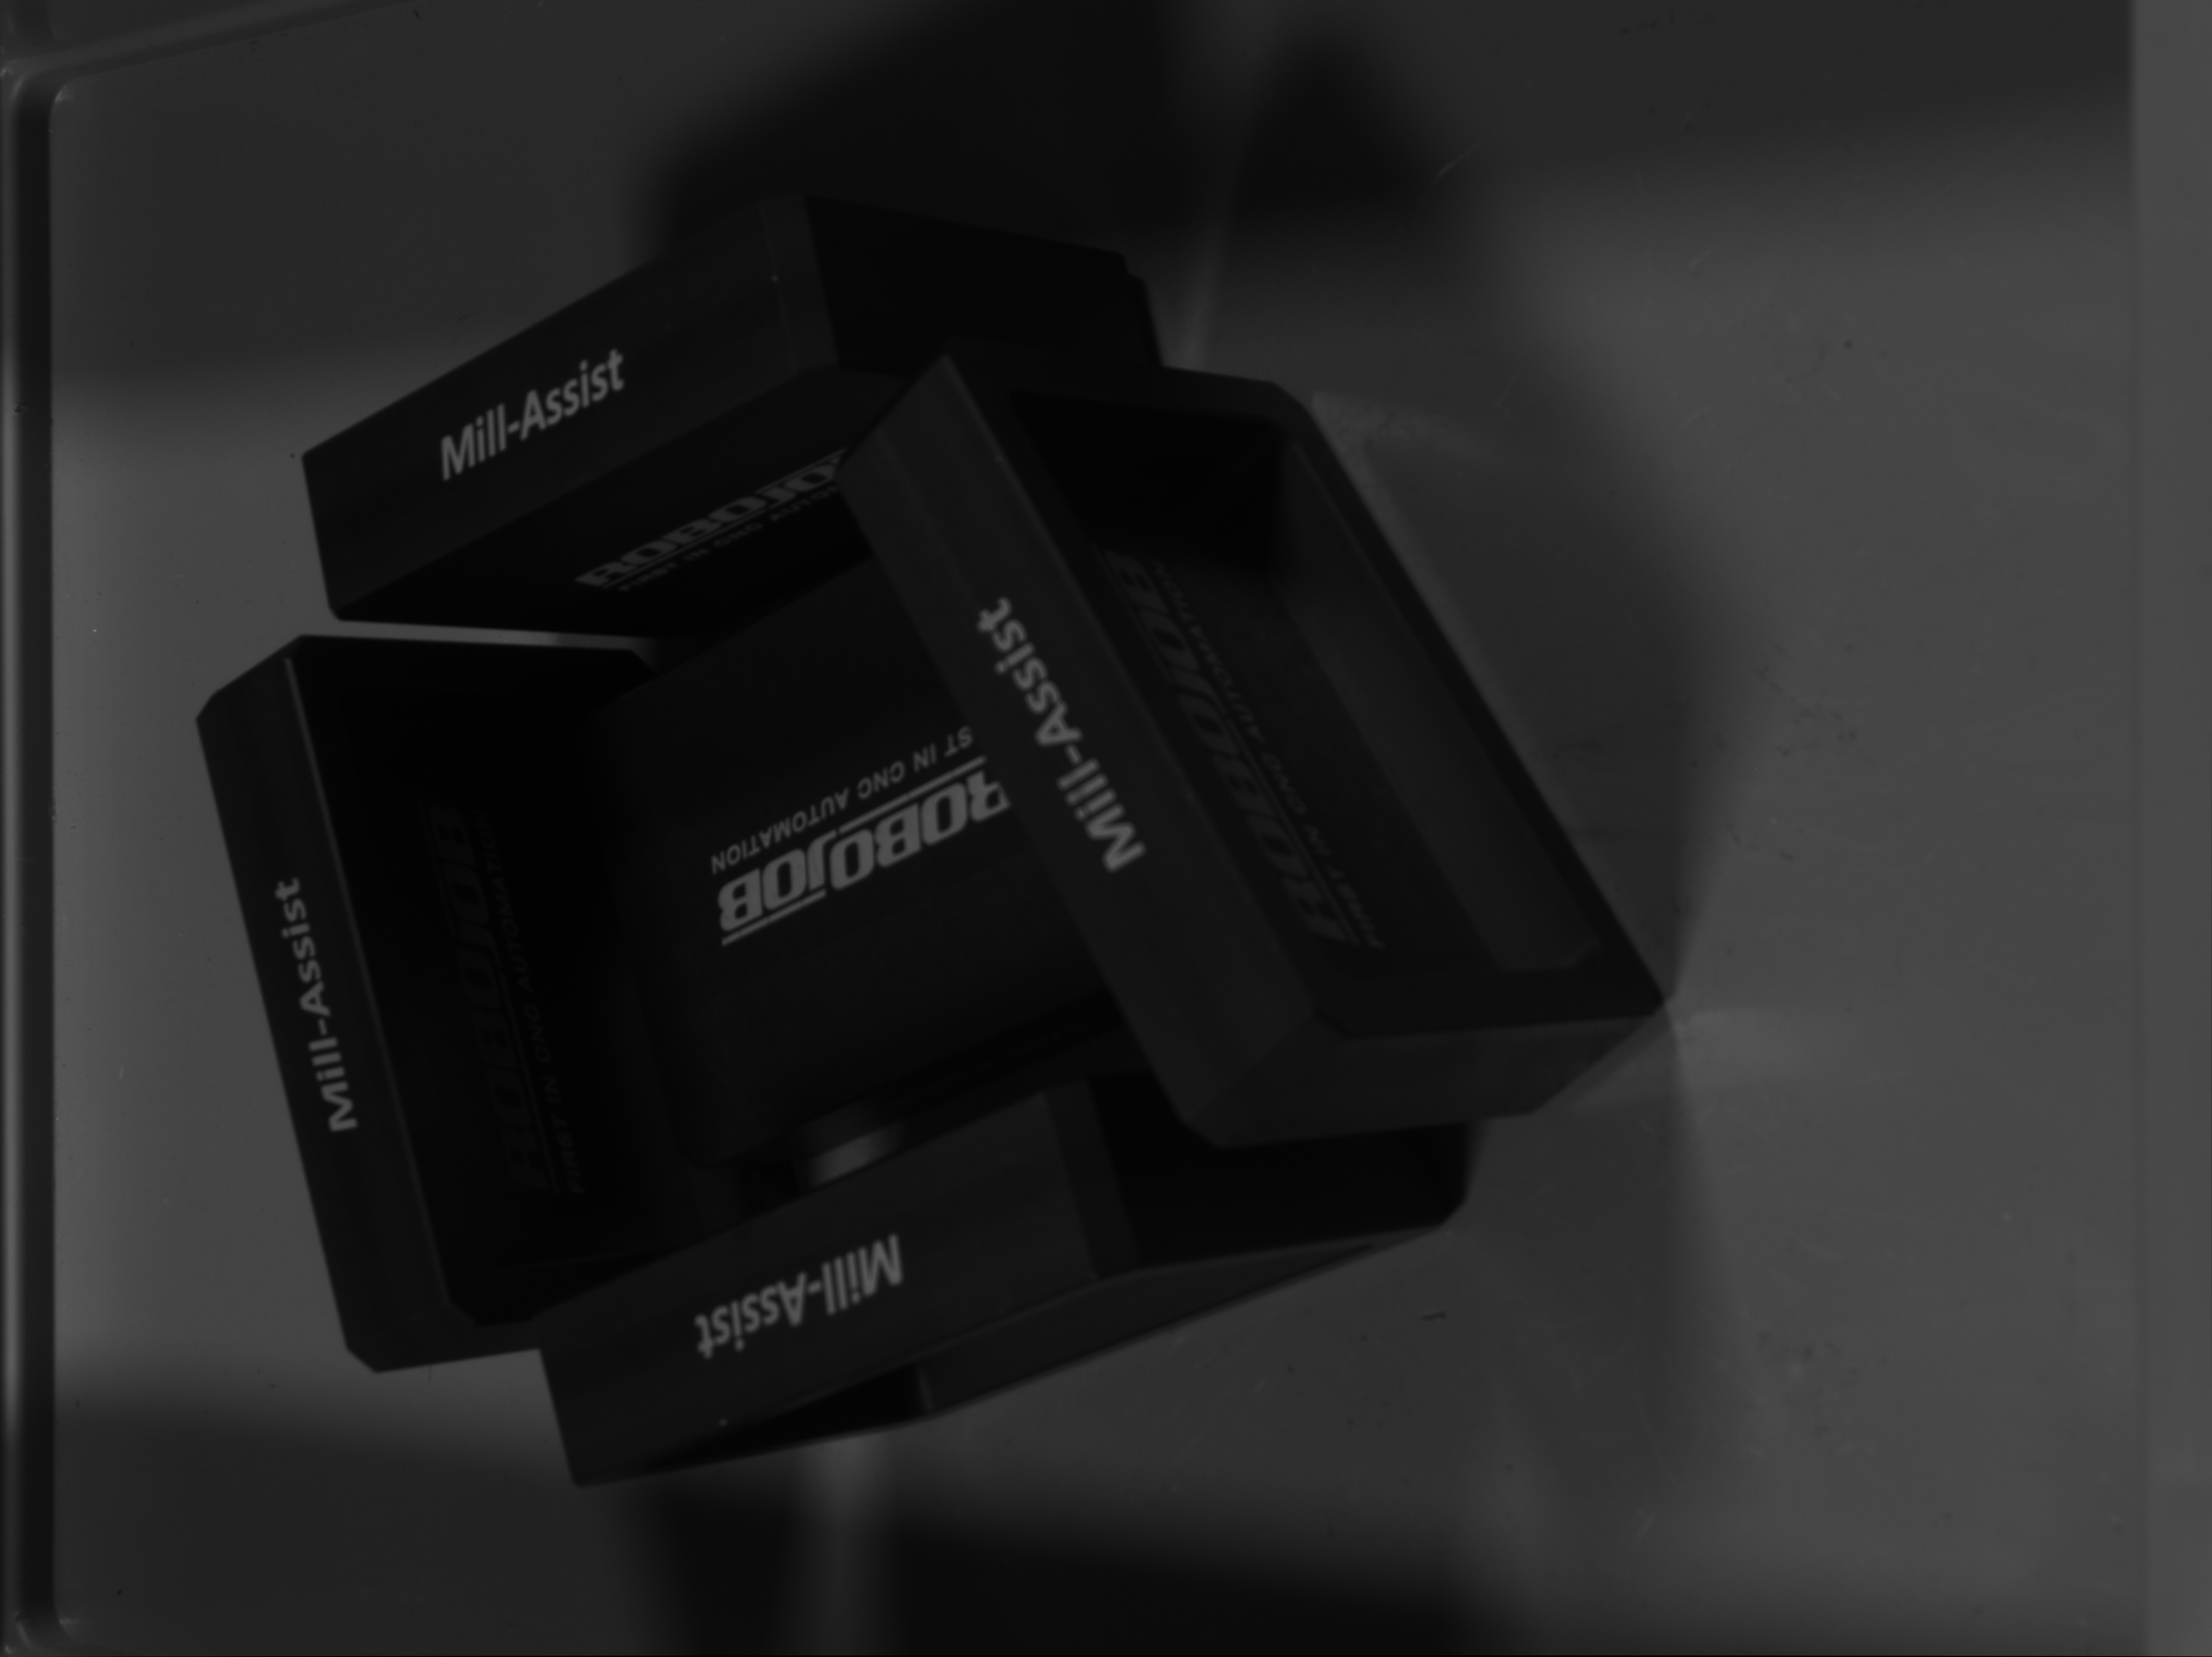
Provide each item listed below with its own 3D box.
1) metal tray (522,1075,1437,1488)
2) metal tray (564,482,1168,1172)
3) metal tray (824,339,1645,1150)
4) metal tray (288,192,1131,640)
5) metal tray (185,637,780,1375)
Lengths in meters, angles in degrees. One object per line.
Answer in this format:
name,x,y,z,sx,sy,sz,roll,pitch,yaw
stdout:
metal tray,-0.022,0.074,0.610,0.130,0.090,0.030,-26,74,36
metal tray,-0.036,0.001,0.660,0.130,0.030,0.090,-25,74,36
metal tray,0.021,-0.014,0.576,0.030,0.090,0.130,-44,64,31
metal tray,-0.070,-0.069,0.650,0.130,0.090,0.030,-20,77,37
metal tray,-0.114,0.031,0.685,0.030,0.090,0.130,-26,73,36
